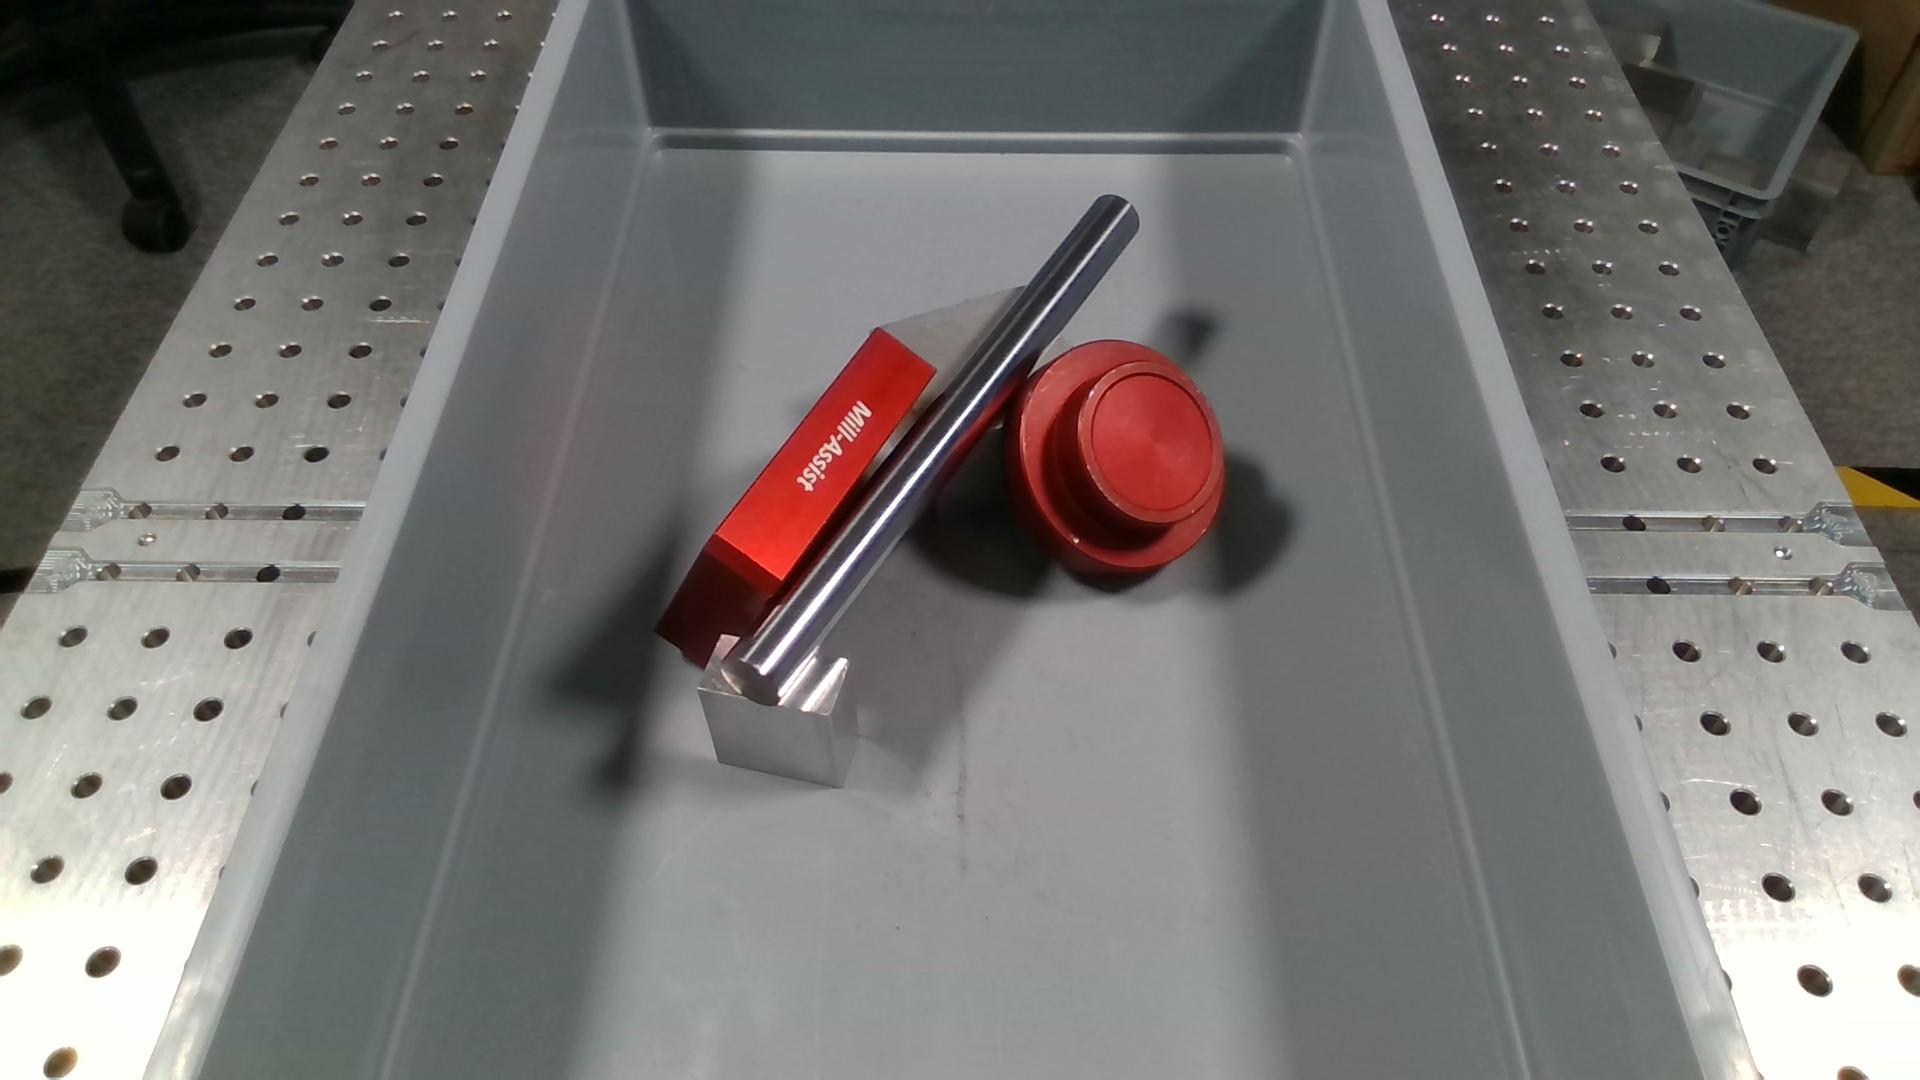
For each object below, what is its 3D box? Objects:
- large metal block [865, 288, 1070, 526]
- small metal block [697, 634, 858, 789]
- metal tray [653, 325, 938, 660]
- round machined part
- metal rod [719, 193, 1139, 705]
[{"bbox_3d":[0.010,-0.062,0.621,0.080,0.050,0.080,-18,52,-14],"label":"large metal block"},{"bbox_3d":[-0.067,0.065,0.515,0.050,0.050,0.025,11,51,9],"label":"small metal block"},{"bbox_3d":[-0.066,-0.018,0.553,0.030,0.090,0.130,37,55,-6],"label":"metal tray"},{"bbox_3d":[0.069,-0.036,0.571,0.098,0.042,0.098,4,80,-24],"label":"round machined part"},{"bbox_3d":[0.000,-0.052,0.562,0.025,0.025,0.299,23,54,18],"label":"metal rod"}]
